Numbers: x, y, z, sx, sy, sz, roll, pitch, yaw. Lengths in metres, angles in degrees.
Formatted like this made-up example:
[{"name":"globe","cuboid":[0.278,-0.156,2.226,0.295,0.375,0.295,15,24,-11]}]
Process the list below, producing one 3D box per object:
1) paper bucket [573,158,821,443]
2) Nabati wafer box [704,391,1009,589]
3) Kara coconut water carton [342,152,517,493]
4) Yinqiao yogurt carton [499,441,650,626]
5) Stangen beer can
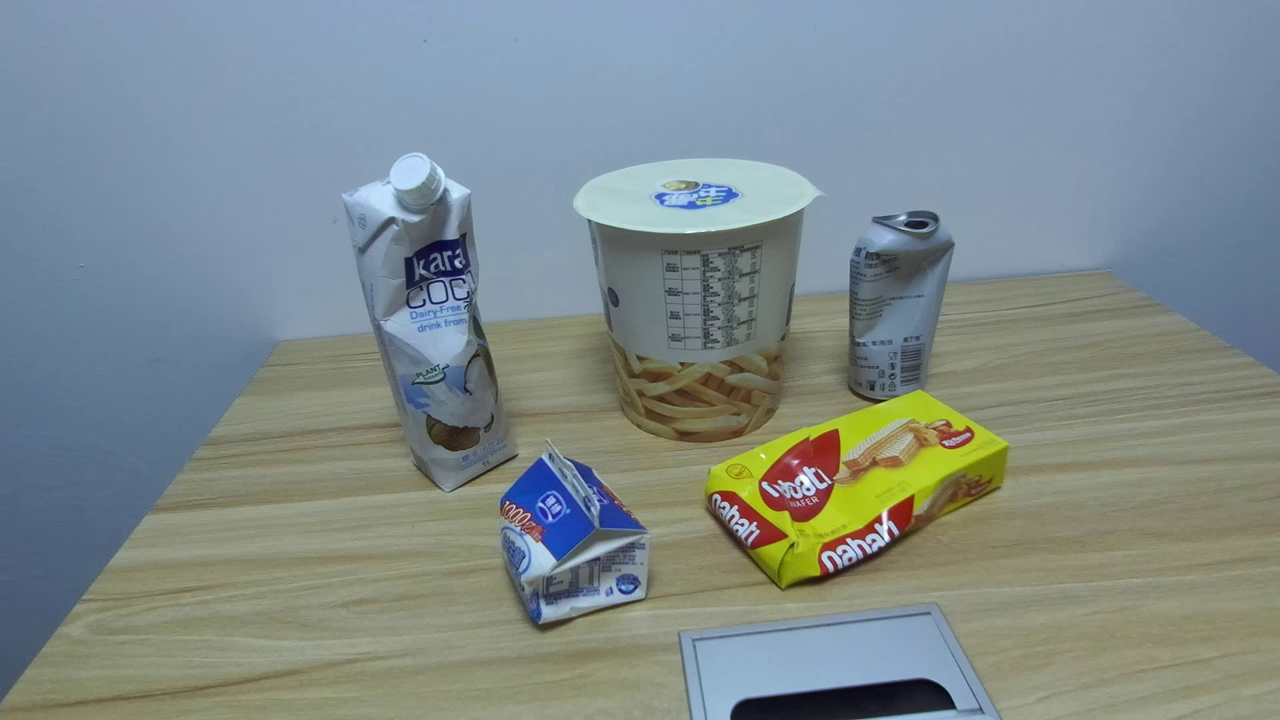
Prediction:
[{"name":"paper bucket","cuboid":[0.048,-0.051,0.605,0.198,0.195,0.198,-3,31,2]},{"name":"Nabati wafer box","cuboid":[0.157,0.088,0.508,0.205,0.042,0.106,-17,31,-20]},{"name":"Kara coconut water carton","cuboid":[-0.155,-0.026,0.529,0.083,0.256,0.078,-19,34,-24]},{"name":"Yinqiao yogurt carton","cuboid":[-0.045,0.106,0.443,0.080,0.097,0.074,-13,32,-27]},{"name":"Stangen beer can","cuboid":[0.220,-0.045,0.607,0.065,0.162,0.077,18,37,31]}]
